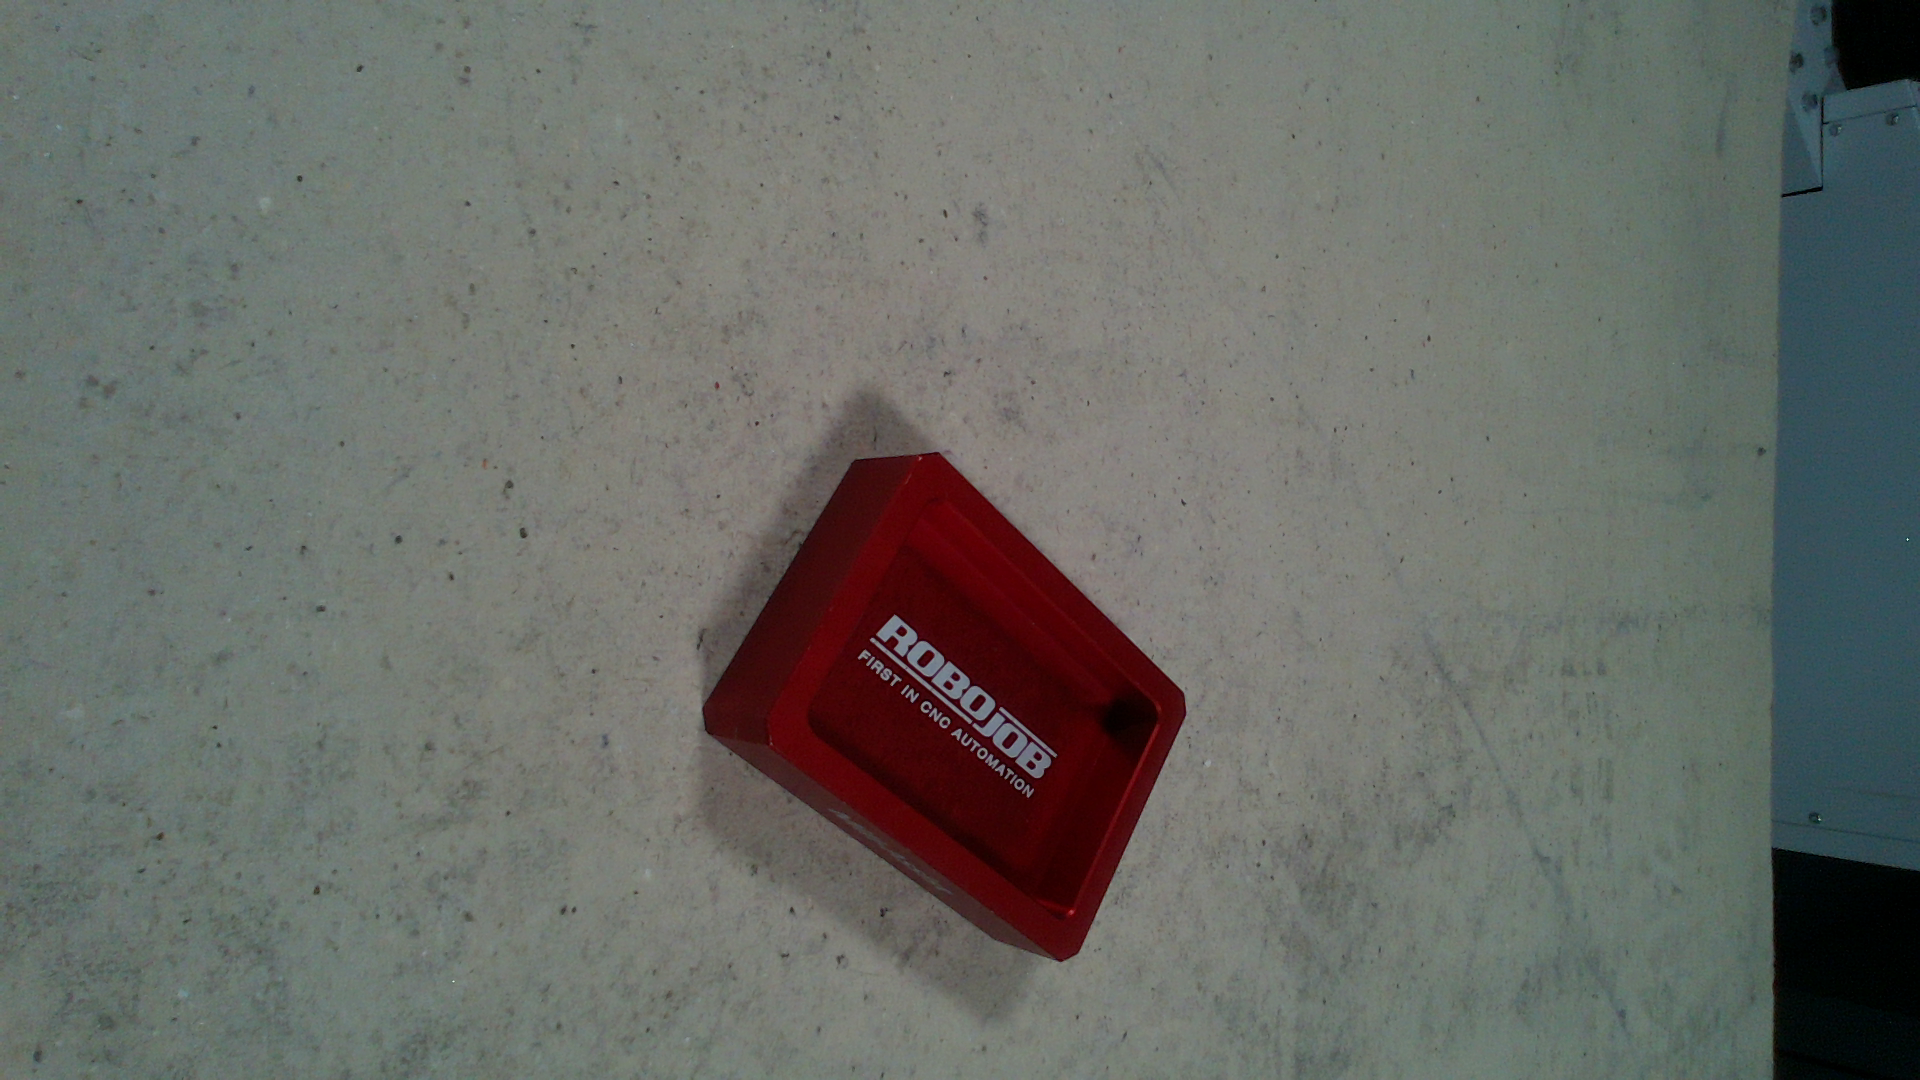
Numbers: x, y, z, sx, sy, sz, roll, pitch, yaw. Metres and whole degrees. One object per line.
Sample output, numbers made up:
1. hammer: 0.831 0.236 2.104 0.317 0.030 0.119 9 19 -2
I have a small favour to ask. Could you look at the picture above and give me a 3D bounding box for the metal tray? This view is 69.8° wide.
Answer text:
1. metal tray: 0.002 0.048 0.388 0.130 0.030 0.090 43 64 -31
